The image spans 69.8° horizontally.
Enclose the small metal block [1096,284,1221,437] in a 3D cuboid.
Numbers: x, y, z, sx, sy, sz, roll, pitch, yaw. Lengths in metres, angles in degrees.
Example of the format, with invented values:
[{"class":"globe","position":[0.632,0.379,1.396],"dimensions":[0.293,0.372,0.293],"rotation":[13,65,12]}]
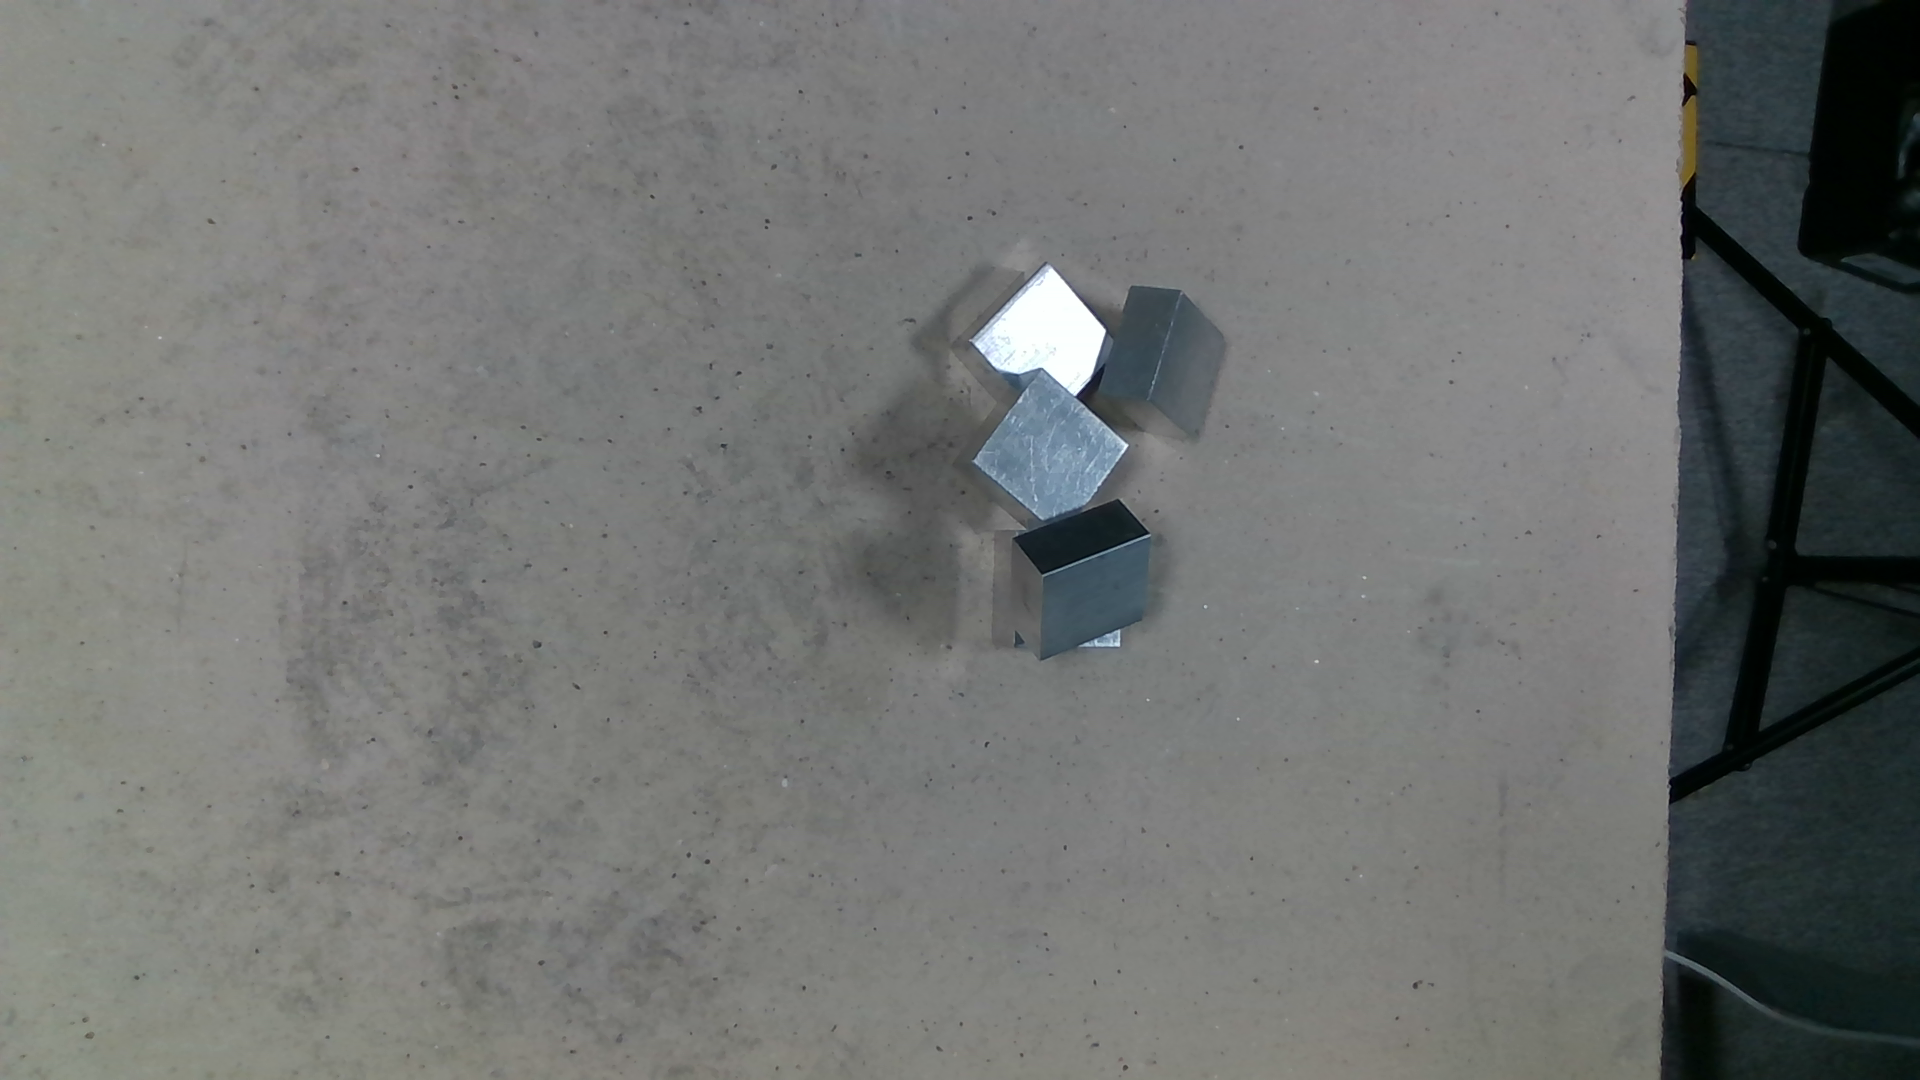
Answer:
[{"class":"small metal block","position":[0.089,-0.078,0.606],"dimensions":[0.050,0.025,0.050],"rotation":[27,79,-55]}]

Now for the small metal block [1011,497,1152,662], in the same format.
[{"class":"small metal block","position":[0.049,0.016,0.564],"dimensions":[0.050,0.025,0.050],"rotation":[-20,137,-19]}]

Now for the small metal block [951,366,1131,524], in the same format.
[{"class":"small metal block","position":[0.034,-0.036,0.570],"dimensions":[0.050,0.025,0.050],"rotation":[39,77,-16]}]

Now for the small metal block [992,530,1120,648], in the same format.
[{"class":"small metal block","position":[0.042,0.021,0.602],"dimensions":[0.050,0.025,0.050],"rotation":[2,89,-20]}]

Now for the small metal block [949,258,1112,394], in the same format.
[{"class":"small metal block","position":[0.032,-0.084,0.597],"dimensions":[0.050,0.025,0.050],"rotation":[-47,105,-14]}]
